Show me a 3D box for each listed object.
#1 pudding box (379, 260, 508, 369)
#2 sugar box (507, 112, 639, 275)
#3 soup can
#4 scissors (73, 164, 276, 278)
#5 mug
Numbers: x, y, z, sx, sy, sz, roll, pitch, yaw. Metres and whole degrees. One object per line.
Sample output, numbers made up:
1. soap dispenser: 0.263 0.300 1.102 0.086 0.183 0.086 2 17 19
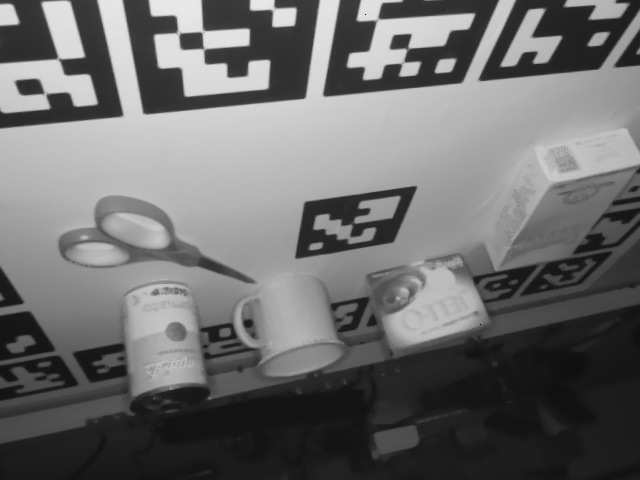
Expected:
1. pudding box: 0.127 0.077 0.723 0.114 0.090 0.038 -13 139 -4
2. sugar box: 0.247 -0.038 0.665 0.093 0.045 0.174 -12 144 -10
3. soup can: -0.129 0.088 0.636 0.068 0.102 0.067 -12 147 -7
4. scissors: -0.107 0.002 0.584 0.087 0.016 0.204 -42 139 17
5. mug: -0.020 0.093 0.695 0.092 0.081 0.118 -31 144 16
